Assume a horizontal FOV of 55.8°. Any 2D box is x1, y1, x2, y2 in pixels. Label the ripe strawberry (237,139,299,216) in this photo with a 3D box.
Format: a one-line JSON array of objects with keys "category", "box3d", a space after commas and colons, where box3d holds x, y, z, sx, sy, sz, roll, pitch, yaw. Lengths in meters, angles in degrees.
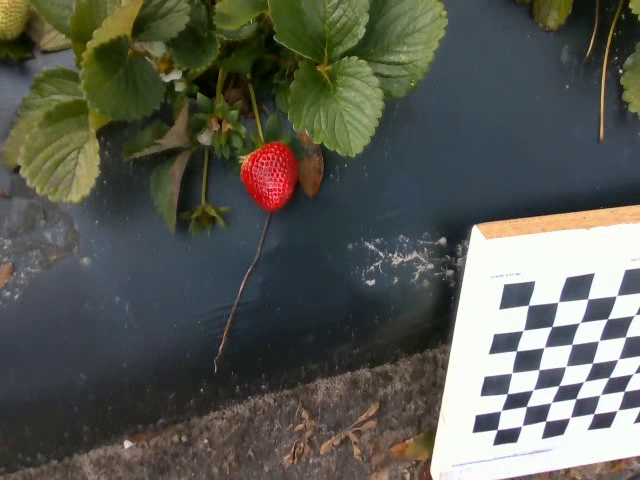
[{"category": "ripe strawberry", "box3d": [-0.037, -0.042, 0.441, 0.050, 0.053, 0.049, -14, -35, -6]}]
